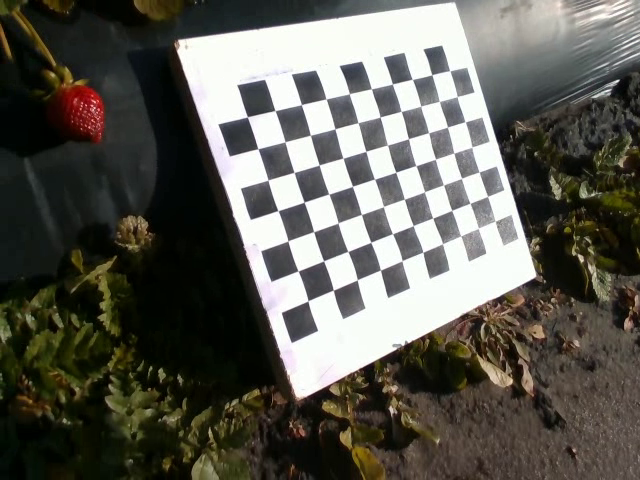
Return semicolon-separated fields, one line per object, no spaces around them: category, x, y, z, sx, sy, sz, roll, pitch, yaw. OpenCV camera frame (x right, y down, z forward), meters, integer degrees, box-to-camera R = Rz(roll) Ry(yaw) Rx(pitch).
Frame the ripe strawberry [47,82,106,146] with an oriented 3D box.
ripe strawberry;-0.145;-0.074;0.377;0.040;0.044;0.036;-42;2;-27
